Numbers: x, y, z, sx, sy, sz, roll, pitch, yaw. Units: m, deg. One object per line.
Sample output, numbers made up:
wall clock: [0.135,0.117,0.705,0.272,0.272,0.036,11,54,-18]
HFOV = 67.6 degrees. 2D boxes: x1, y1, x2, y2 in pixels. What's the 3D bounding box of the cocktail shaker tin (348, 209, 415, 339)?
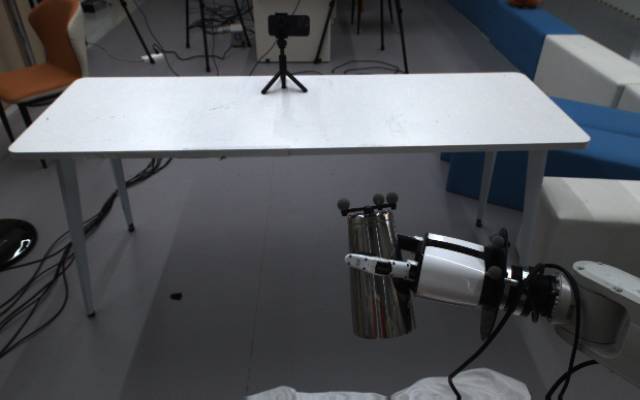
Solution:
cocktail shaker tin: [0.083,0.103,0.704,0.093,0.170,0.093,-8,1,0]
